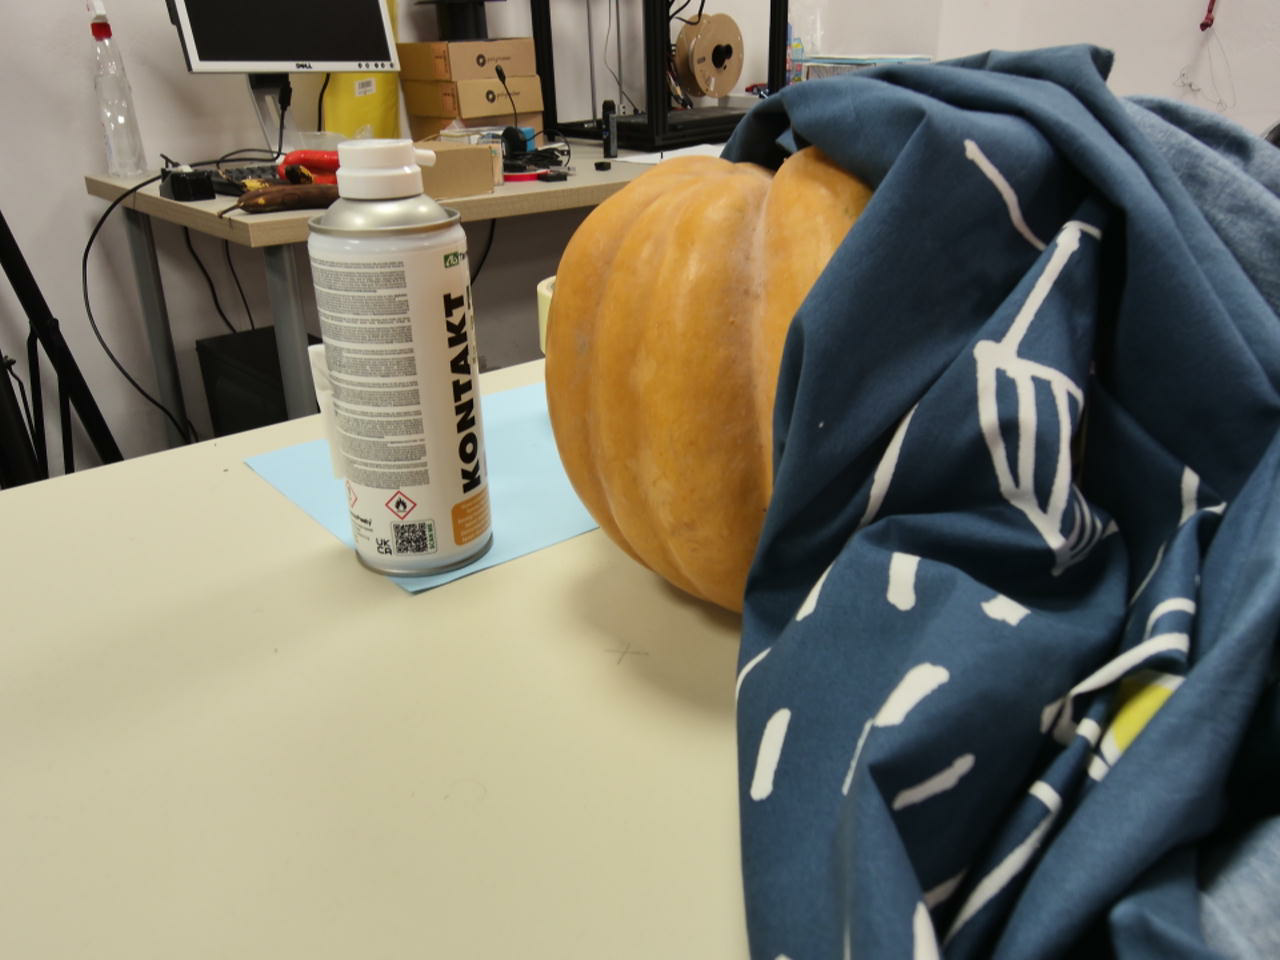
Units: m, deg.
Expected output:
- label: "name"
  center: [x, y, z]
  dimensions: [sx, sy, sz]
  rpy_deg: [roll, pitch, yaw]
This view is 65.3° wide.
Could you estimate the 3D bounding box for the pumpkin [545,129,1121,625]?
- label: "pumpkin"
  center: [0.074, -0.044, 0.417]
  dimensions: [0.230, 0.194, 0.230]
  rpy_deg: [0, 22, 0]
